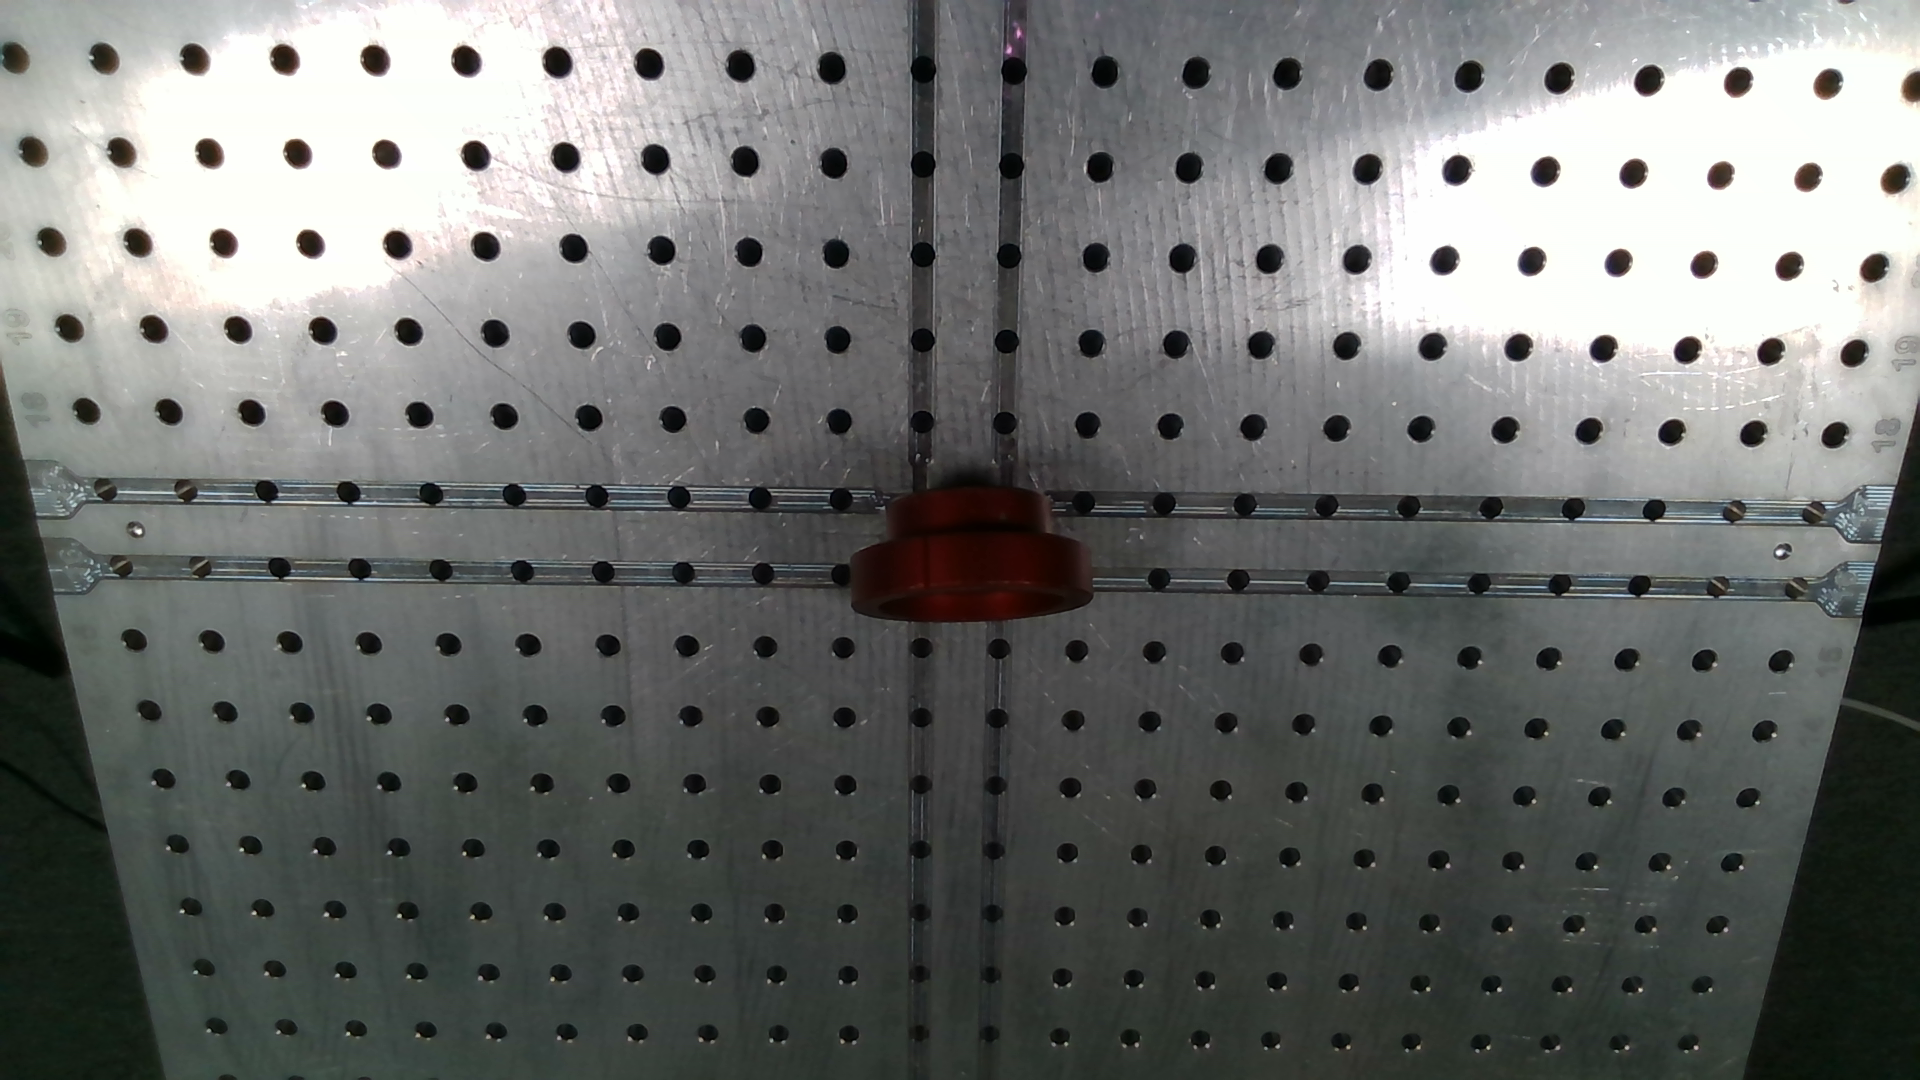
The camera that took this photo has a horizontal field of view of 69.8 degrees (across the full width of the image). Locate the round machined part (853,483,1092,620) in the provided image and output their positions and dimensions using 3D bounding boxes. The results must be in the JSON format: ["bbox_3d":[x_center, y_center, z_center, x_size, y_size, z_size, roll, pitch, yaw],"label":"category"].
[{"bbox_3d":[0.004,0.005,0.560,0.098,0.098,0.042,-2,78,1],"label":"round machined part"}]
